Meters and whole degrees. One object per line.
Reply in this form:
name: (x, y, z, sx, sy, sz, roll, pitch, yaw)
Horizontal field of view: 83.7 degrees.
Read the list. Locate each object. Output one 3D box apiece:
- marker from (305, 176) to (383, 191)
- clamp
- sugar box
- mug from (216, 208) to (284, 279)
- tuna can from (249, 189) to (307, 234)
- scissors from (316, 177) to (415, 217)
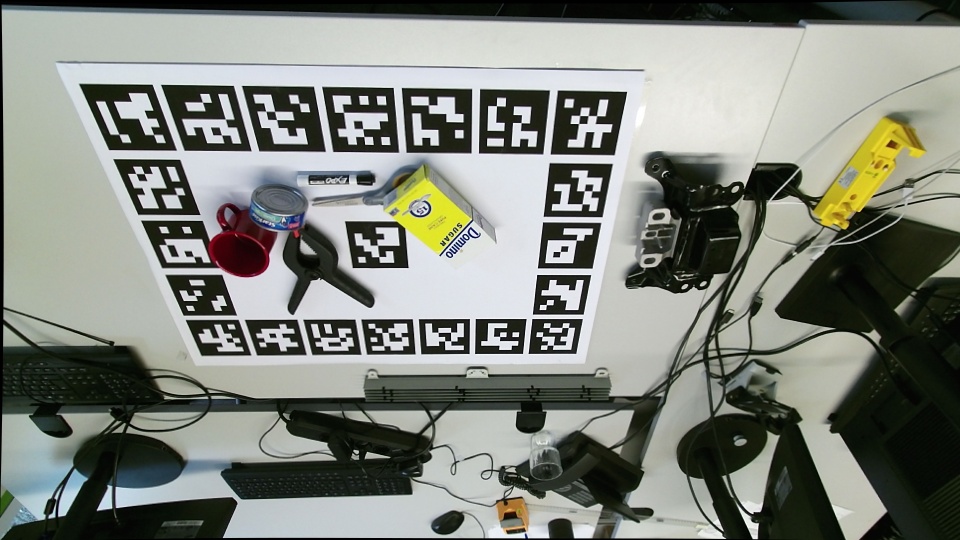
marker: (-0.219, -0.140, 0.865, 0.121, 0.019, 0.019, -3, 125, -1)
clamp: (-0.295, 0.004, 0.968, 0.166, 0.036, 0.203, -8, 125, 4)
sugar box: (-0.067, -0.076, 0.893, 0.093, 0.045, 0.177, -30, 127, 19)
mug: (-0.382, -0.053, 0.887, 0.093, 0.081, 0.117, -22, 127, 14)
tuna can: (-0.321, -0.093, 0.854, 0.086, 0.085, 0.034, 14, 124, -12)
scissors: (-0.174, -0.104, 0.889, 0.203, 0.016, 0.088, -8, 130, 5)
